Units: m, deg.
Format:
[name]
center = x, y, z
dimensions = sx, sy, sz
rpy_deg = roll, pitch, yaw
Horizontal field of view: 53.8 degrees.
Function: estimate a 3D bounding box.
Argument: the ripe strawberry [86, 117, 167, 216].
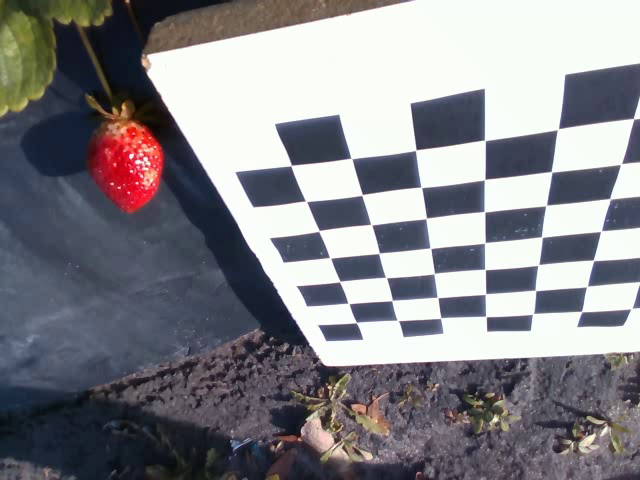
[ripe strawberry]
center = -0.070, -0.026, 0.229
dimensions = 0.034, 0.038, 0.033
rpy_deg = -6, 4, 14
